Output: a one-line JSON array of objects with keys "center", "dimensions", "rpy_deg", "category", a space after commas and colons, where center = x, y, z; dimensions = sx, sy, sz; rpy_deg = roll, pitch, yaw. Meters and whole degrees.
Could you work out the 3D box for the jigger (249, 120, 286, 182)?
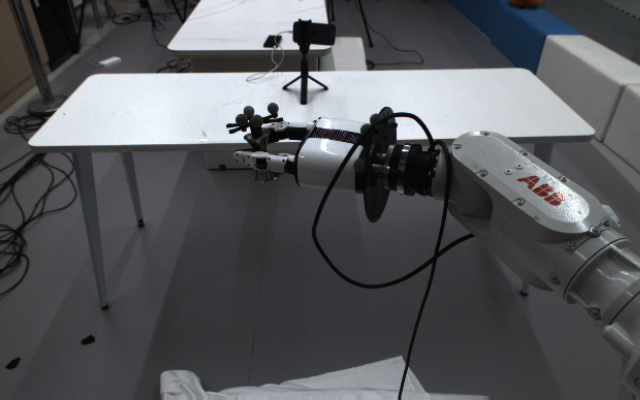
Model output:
[{"center": [-0.084, -0.068, 0.725], "dimensions": [0.043, 0.071, 0.043], "rpy_deg": [-10, 24, 5], "category": "jigger"}]
